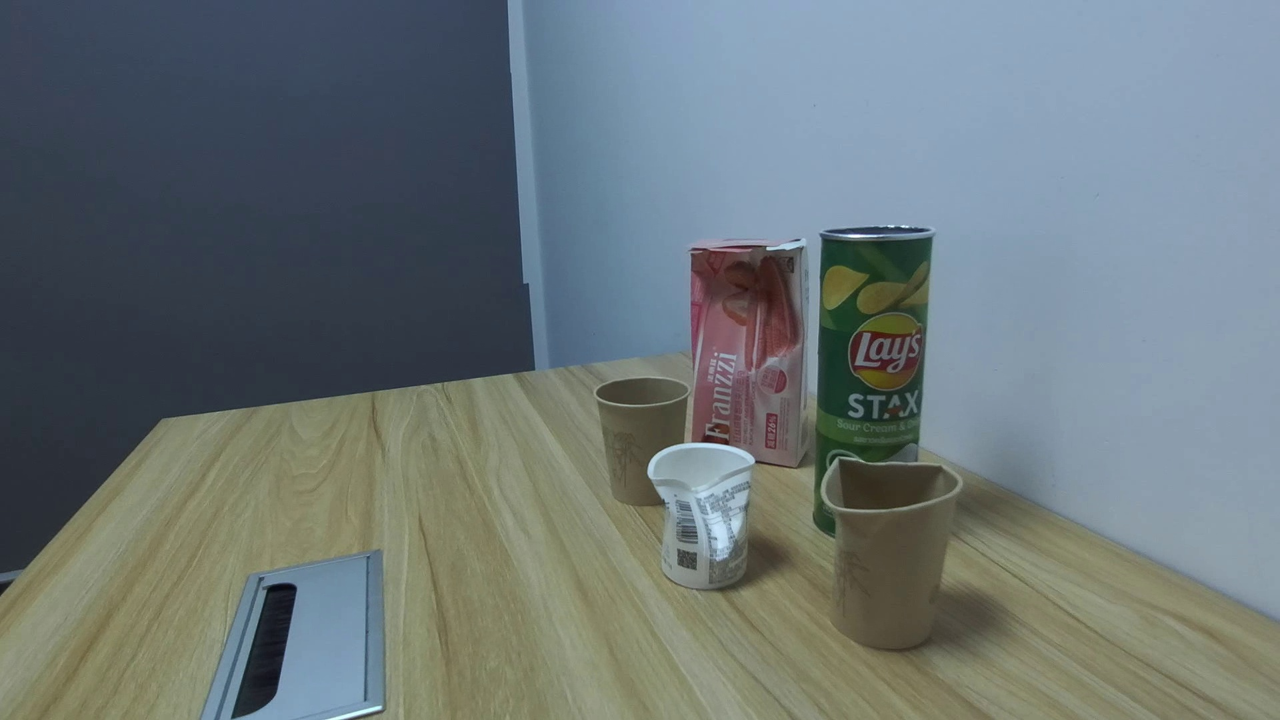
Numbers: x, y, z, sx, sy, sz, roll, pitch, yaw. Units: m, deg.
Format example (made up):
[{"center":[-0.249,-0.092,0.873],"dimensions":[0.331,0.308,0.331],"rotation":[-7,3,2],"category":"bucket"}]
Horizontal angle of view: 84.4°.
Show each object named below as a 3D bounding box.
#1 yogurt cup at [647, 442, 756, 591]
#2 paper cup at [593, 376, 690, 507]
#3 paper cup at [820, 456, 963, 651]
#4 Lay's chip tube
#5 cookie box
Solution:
[{"center":[0.038,0.096,0.438],"dimensions":[0.067,0.070,0.067],"rotation":[-4,15,1],"category":"yogurt cup"},{"center":[0.004,0.063,0.538],"dimensions":[0.075,0.082,0.075],"rotation":[-2,13,1],"category":"paper cup"},{"center":[0.131,0.101,0.372],"dimensions":[0.071,0.084,0.066],"rotation":[1,16,14],"category":"paper cup"},{"center":[0.152,0.015,0.467],"dimensions":[0.071,0.202,0.071],"rotation":[-2,15,1],"category":"Lay's chip tube"},{"center":[0.090,-0.007,0.597],"dimensions":[0.118,0.184,0.056],"rotation":[5,16,33],"category":"cookie box"}]
